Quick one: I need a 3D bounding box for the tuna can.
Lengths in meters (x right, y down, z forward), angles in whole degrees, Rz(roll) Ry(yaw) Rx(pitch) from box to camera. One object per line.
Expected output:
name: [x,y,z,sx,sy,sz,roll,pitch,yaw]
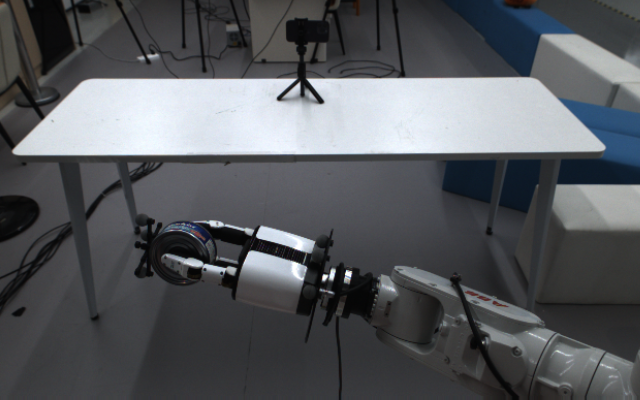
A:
tuna can: [-0.186,0.075,0.660,0.085,0.085,0.034,4,19,2]
